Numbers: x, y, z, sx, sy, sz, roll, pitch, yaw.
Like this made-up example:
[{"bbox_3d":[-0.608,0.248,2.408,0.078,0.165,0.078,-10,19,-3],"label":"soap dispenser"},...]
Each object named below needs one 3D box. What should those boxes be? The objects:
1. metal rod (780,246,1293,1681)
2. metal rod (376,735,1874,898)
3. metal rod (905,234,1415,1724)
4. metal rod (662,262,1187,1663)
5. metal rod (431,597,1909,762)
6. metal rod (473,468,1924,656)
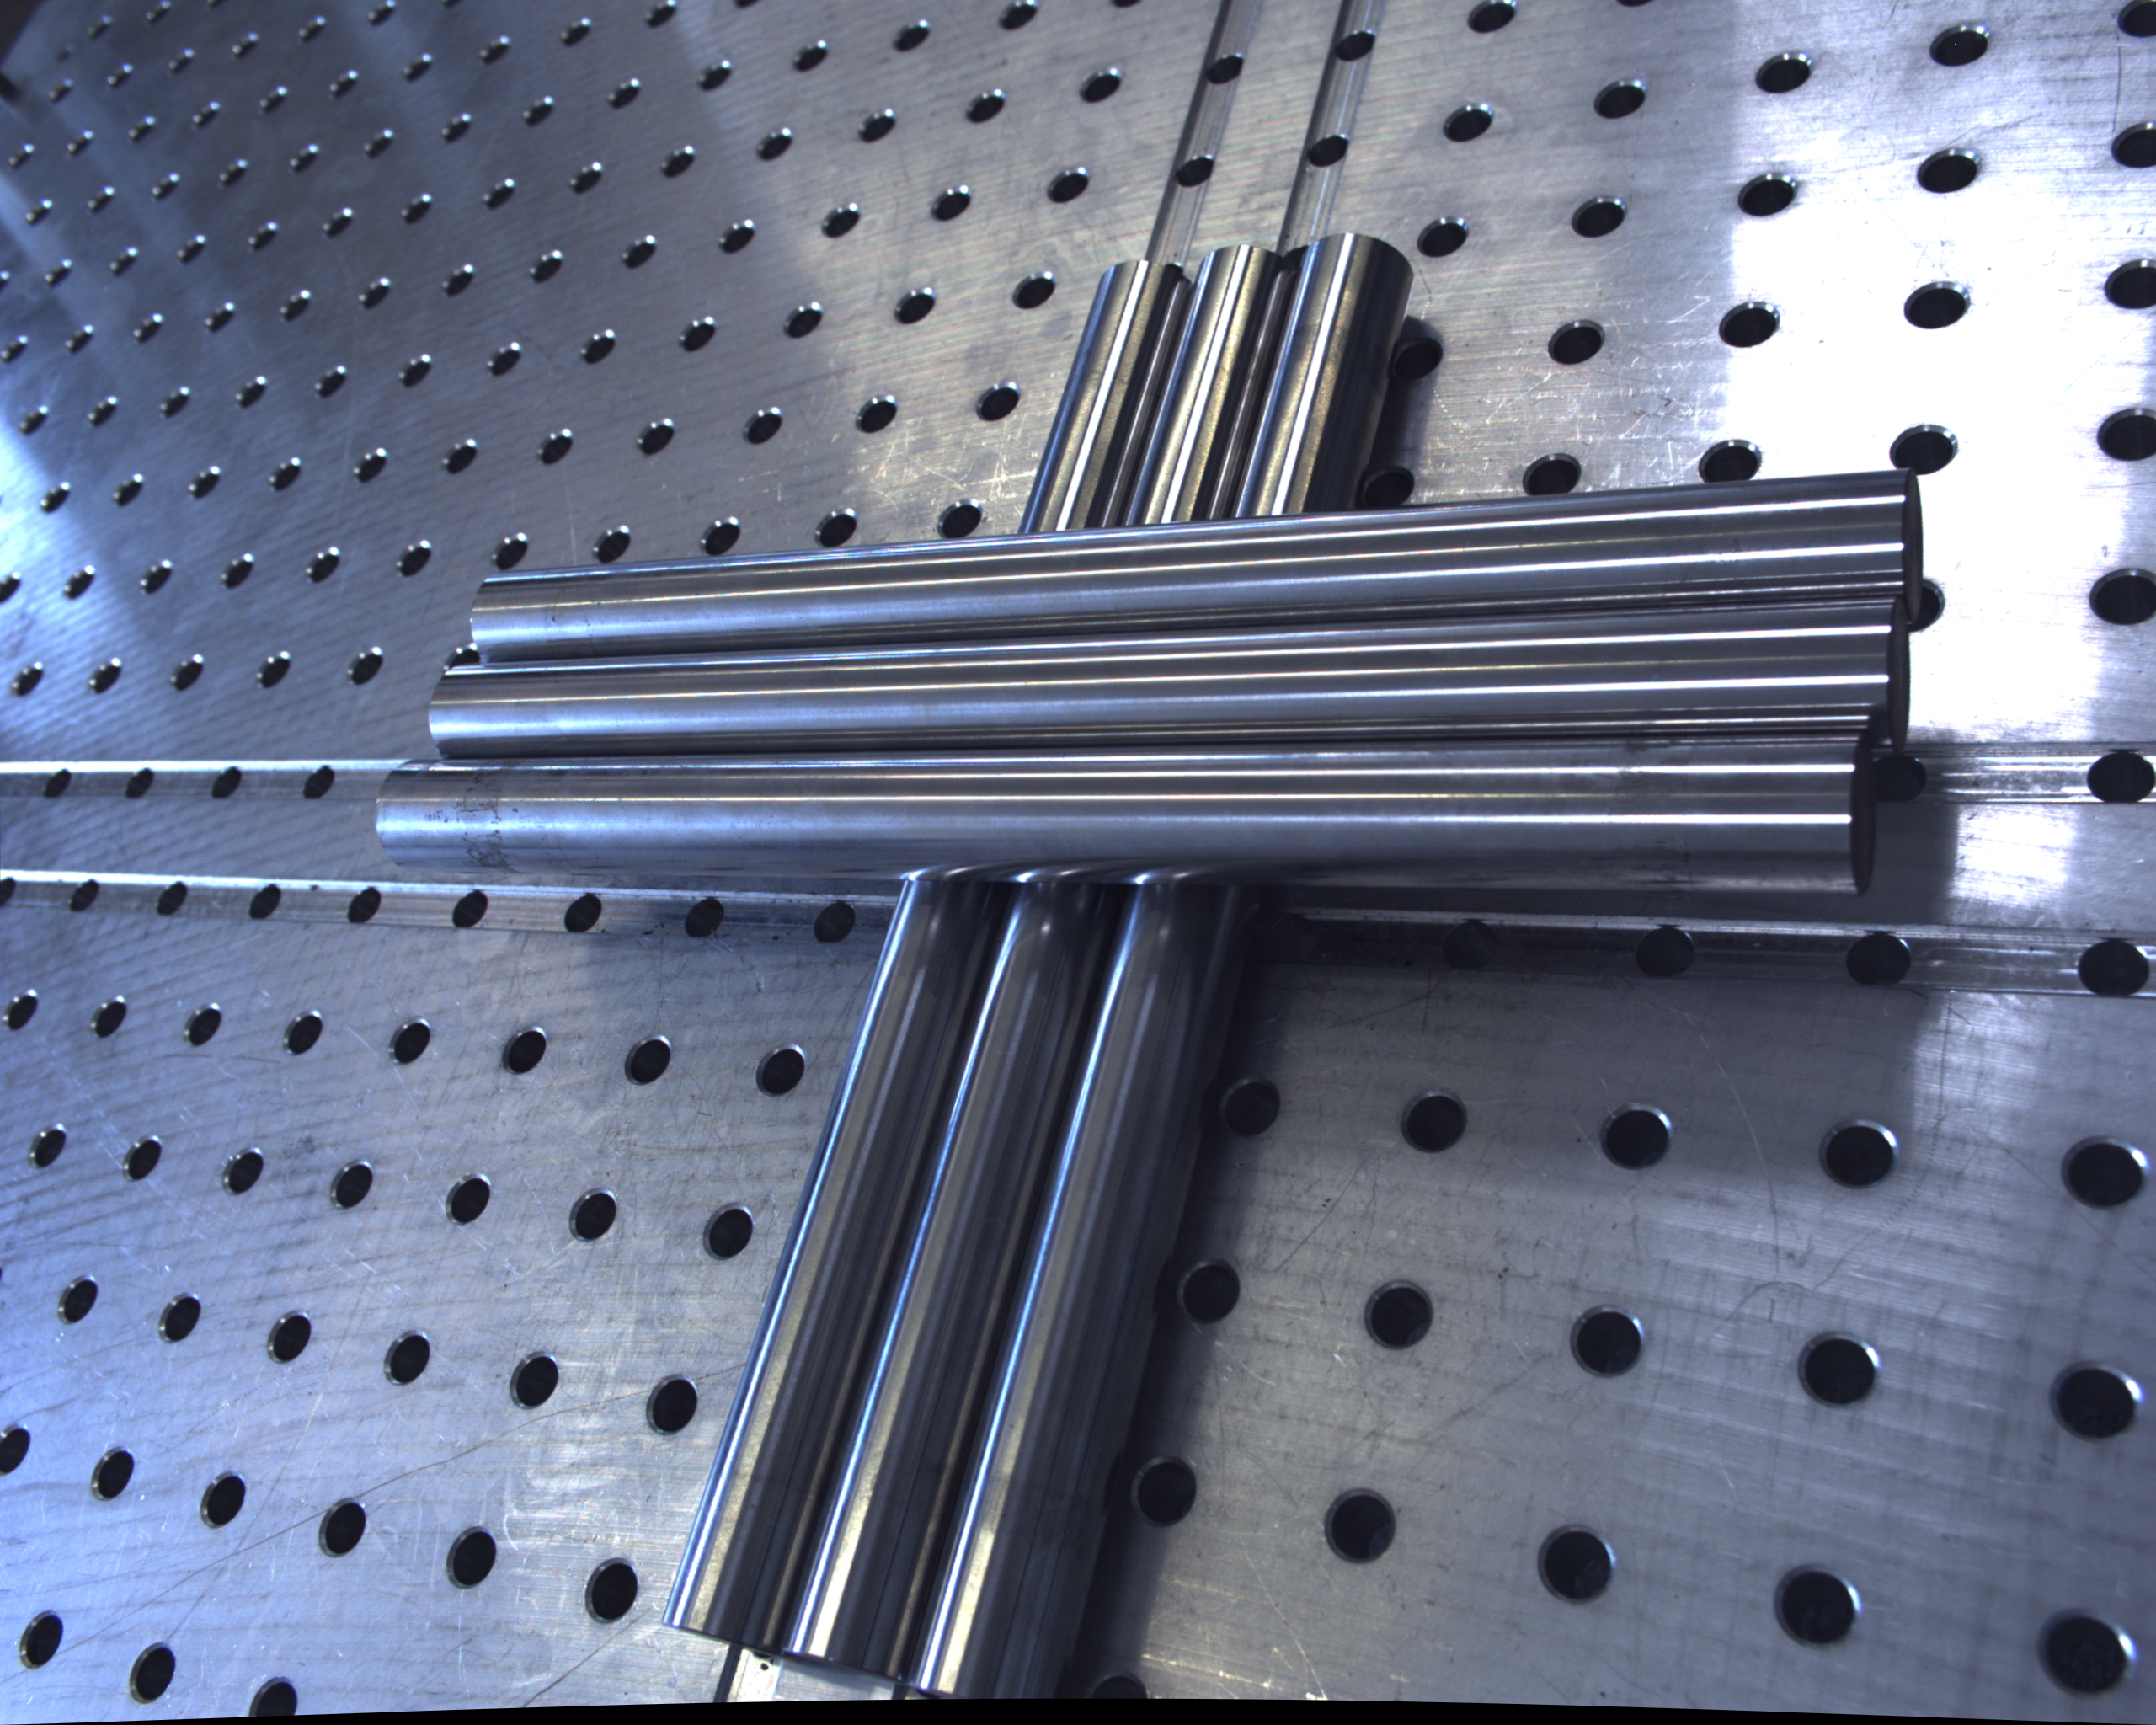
[{"bbox_3d":[0.001,0.002,0.407,0.025,0.025,0.300,2,62,29],"label":"metal rod"},{"bbox_3d":[-0.013,-0.009,0.389,0.300,0.025,0.025,1,62,28],"label":"metal rod"},{"bbox_3d":[0.023,0.003,0.395,0.025,0.025,0.300,2,62,29],"label":"metal rod"},{"bbox_3d":[-0.021,0.002,0.419,0.025,0.025,0.300,2,62,29],"label":"metal rod"},{"bbox_3d":[-0.004,-0.031,0.398,0.300,0.025,0.025,1,62,28],"label":"metal rod"},{"bbox_3d":[0.003,-0.053,0.408,0.300,0.025,0.025,1,62,28],"label":"metal rod"}]
